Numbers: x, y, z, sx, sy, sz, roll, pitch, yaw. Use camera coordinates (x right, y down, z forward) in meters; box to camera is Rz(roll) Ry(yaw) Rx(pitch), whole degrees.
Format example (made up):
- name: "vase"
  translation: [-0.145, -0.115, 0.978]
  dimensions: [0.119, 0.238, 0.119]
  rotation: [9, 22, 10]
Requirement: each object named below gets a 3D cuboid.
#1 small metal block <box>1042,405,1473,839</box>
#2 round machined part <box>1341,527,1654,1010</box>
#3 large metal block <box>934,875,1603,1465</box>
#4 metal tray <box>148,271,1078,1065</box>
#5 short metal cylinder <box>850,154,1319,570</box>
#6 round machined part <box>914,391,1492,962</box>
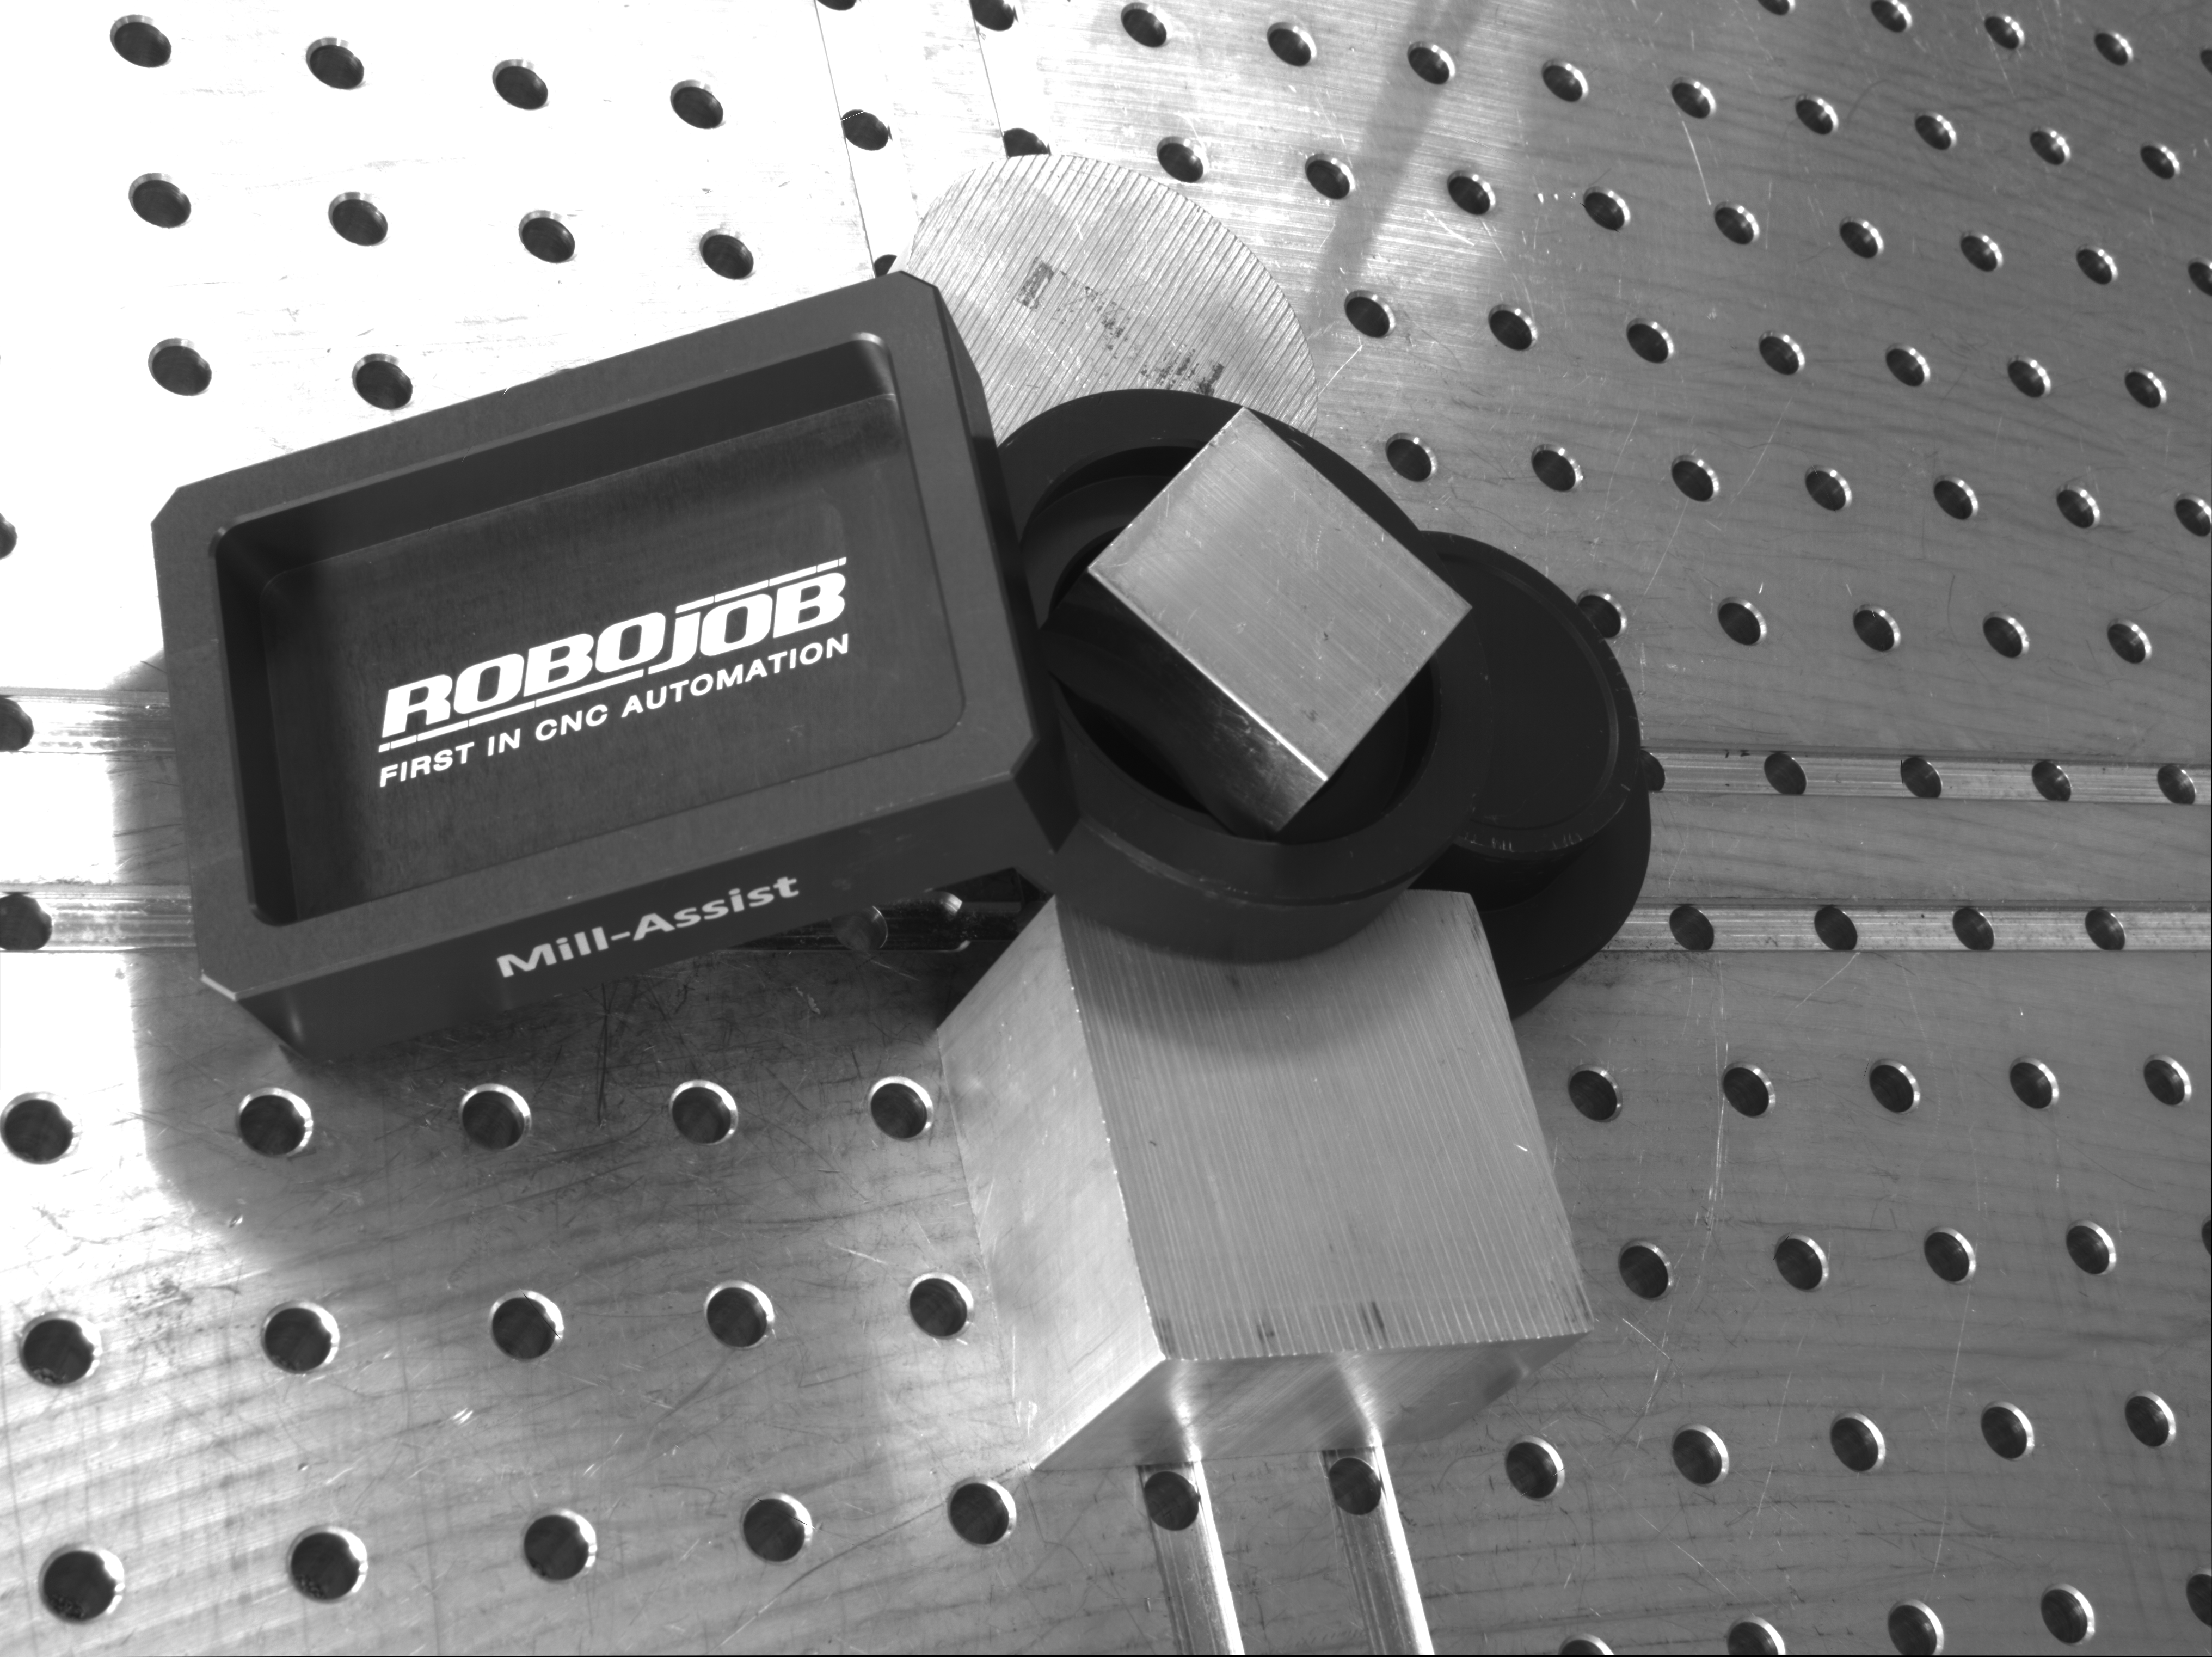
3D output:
- name: "small metal block"
  translation: [0.023, -0.032, 0.595]
  dimensions: [0.050, 0.025, 0.050]
  rotation: [41, 51, 0]
- name: "round machined part"
  translation: [0.058, -0.016, 0.670]
  dimensions: [0.098, 0.042, 0.098]
  rotation: [14, 56, -21]
- name: "large metal block"
  translation: [0.025, 0.055, 0.602]
  dimensions: [0.080, 0.050, 0.080]
  rotation: [1, 61, -28]
- name: "metal tray"
  translation: [-0.077, -0.025, 0.566]
  dimensions: [0.130, 0.030, 0.090]
  rotation: [-16, 65, 5]
- name: "short metal cylinder"
  translation: [-0.008, -0.075, 0.666]
  dimensions: [0.080, 0.050, 0.080]
  rotation: [14, 56, -21]
- name: "round machined part"
  translation: [0.012, -0.021, 0.613]
  dimensions: [0.098, 0.042, 0.098]
  rotation: [14, 56, -21]
